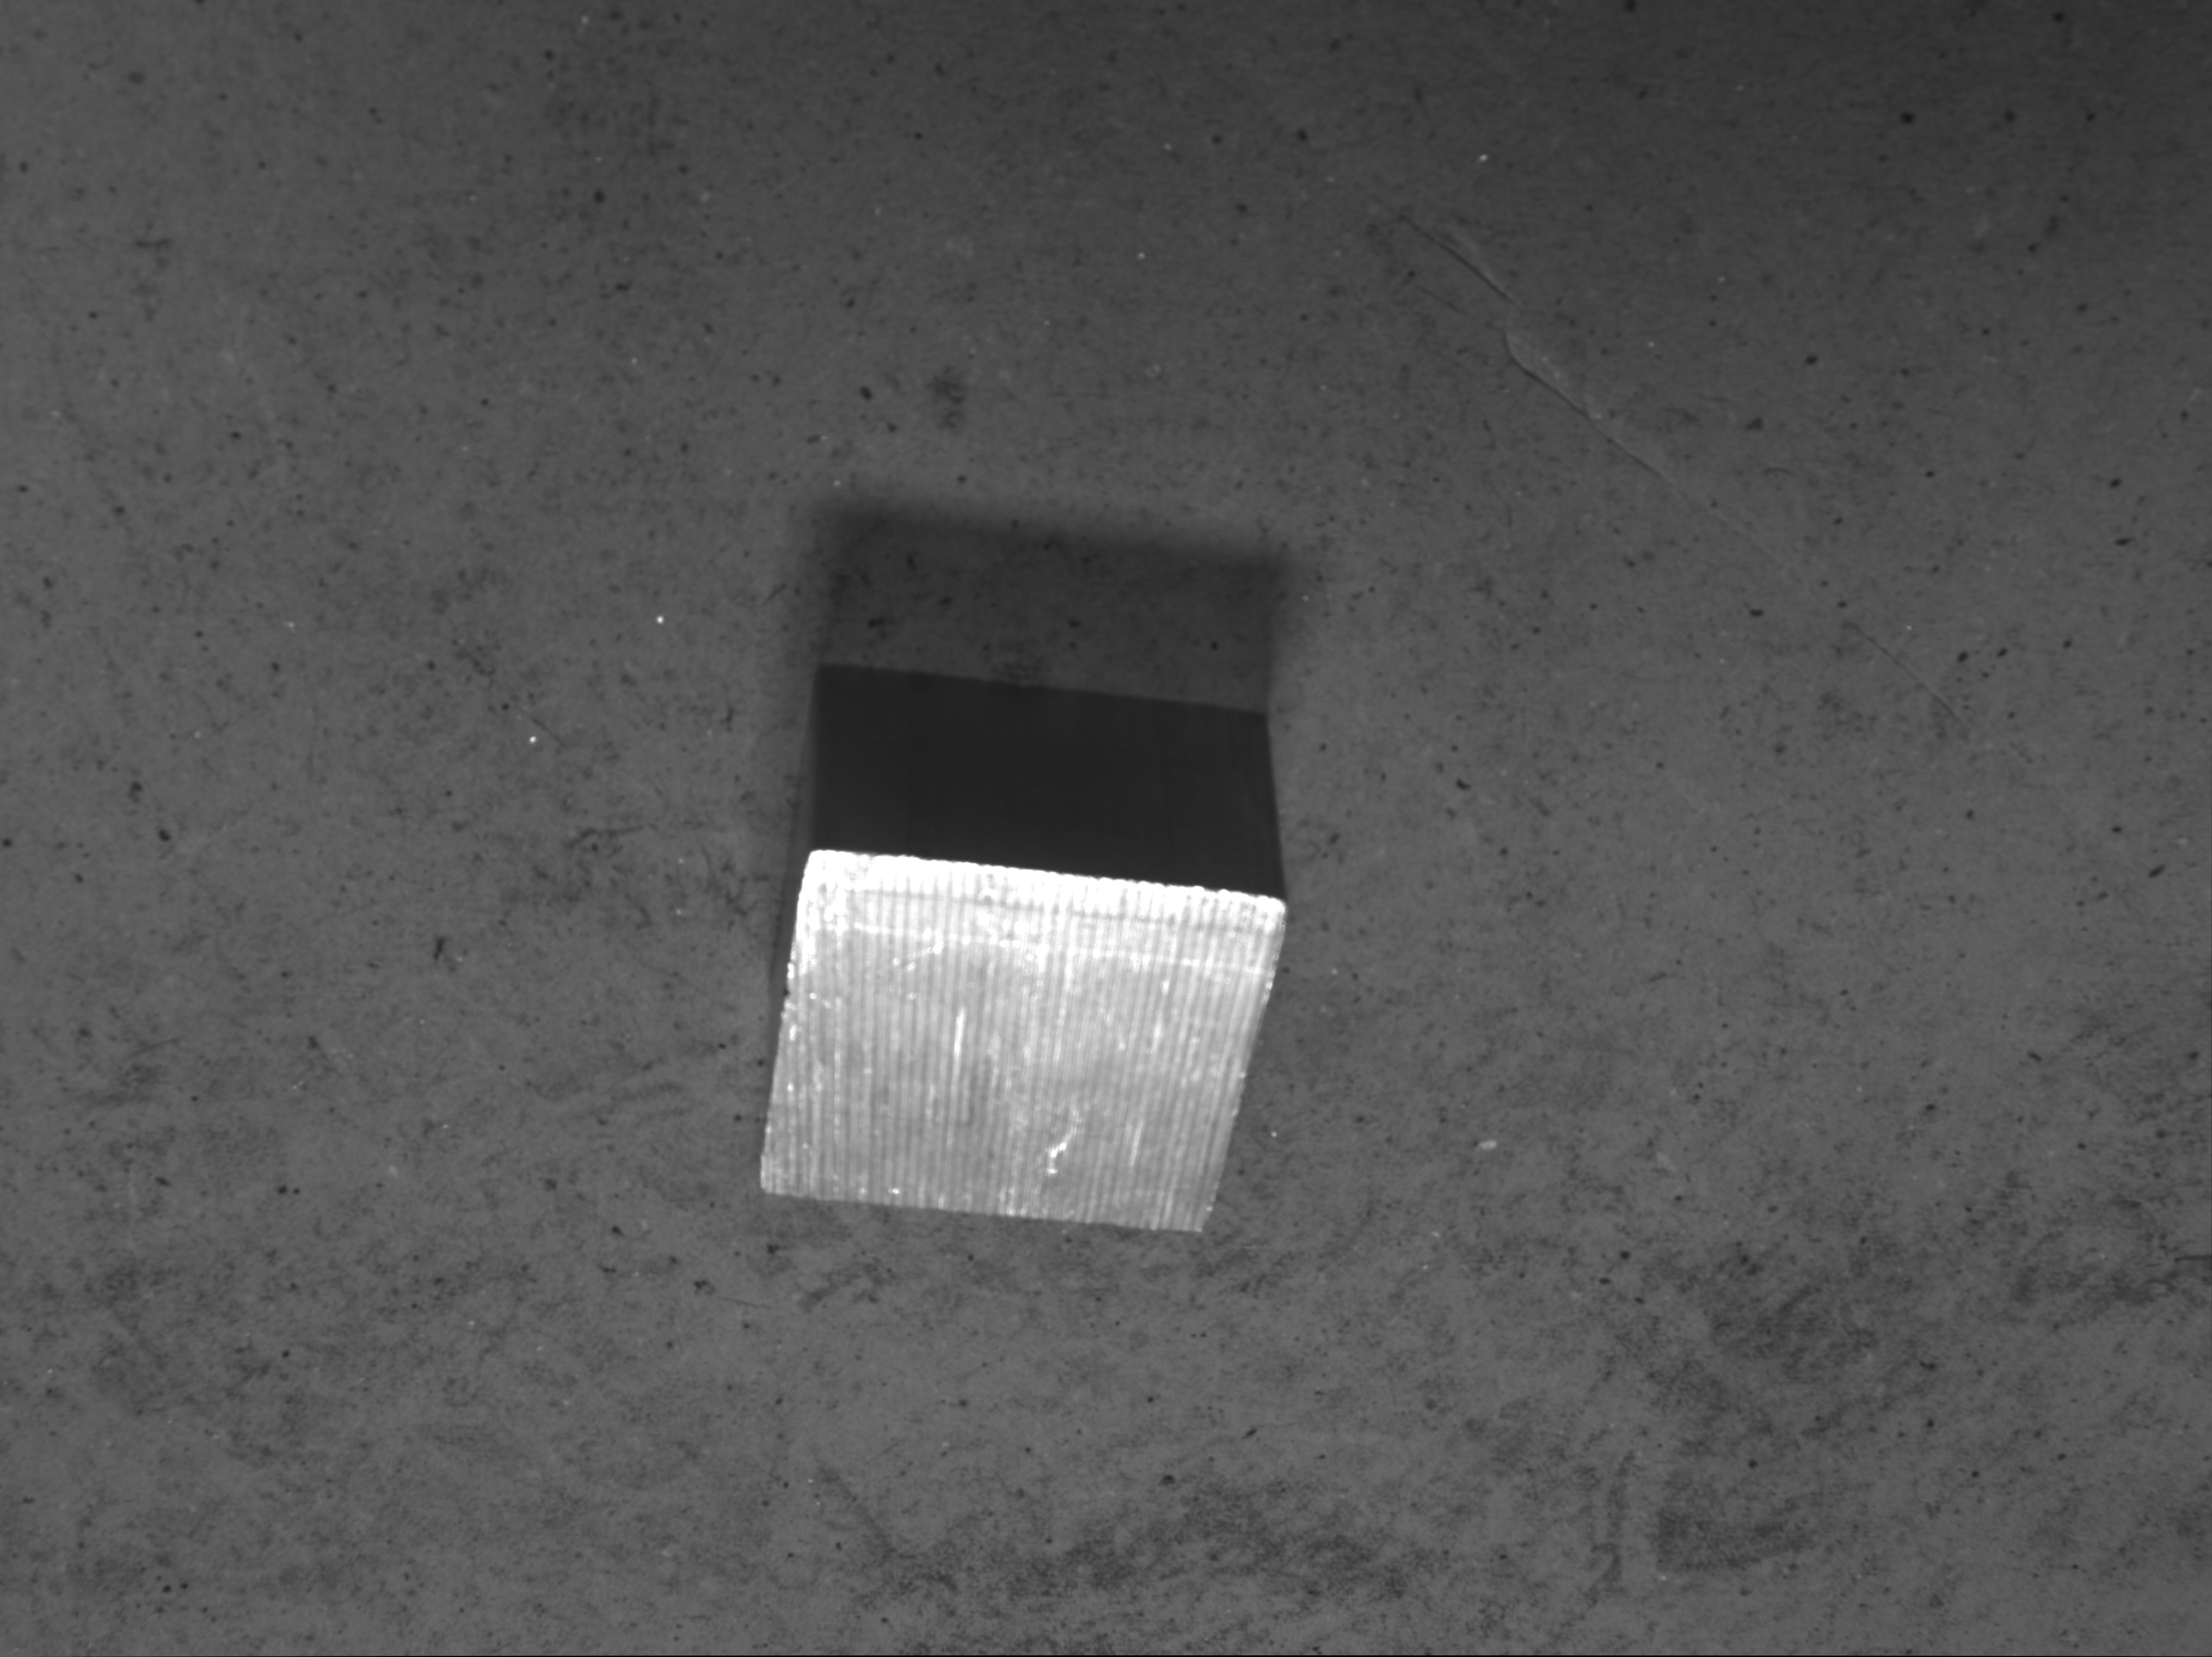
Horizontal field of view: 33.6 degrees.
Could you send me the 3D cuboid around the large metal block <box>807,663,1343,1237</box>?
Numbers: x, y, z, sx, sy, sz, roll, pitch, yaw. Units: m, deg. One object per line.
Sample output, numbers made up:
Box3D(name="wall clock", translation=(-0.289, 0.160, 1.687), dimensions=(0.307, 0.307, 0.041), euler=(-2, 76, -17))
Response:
Box3D(name="large metal block", translation=(-0.007, 0.022, 0.641), dimensions=(0.080, 0.050, 0.080), euler=(6, 129, -7))
